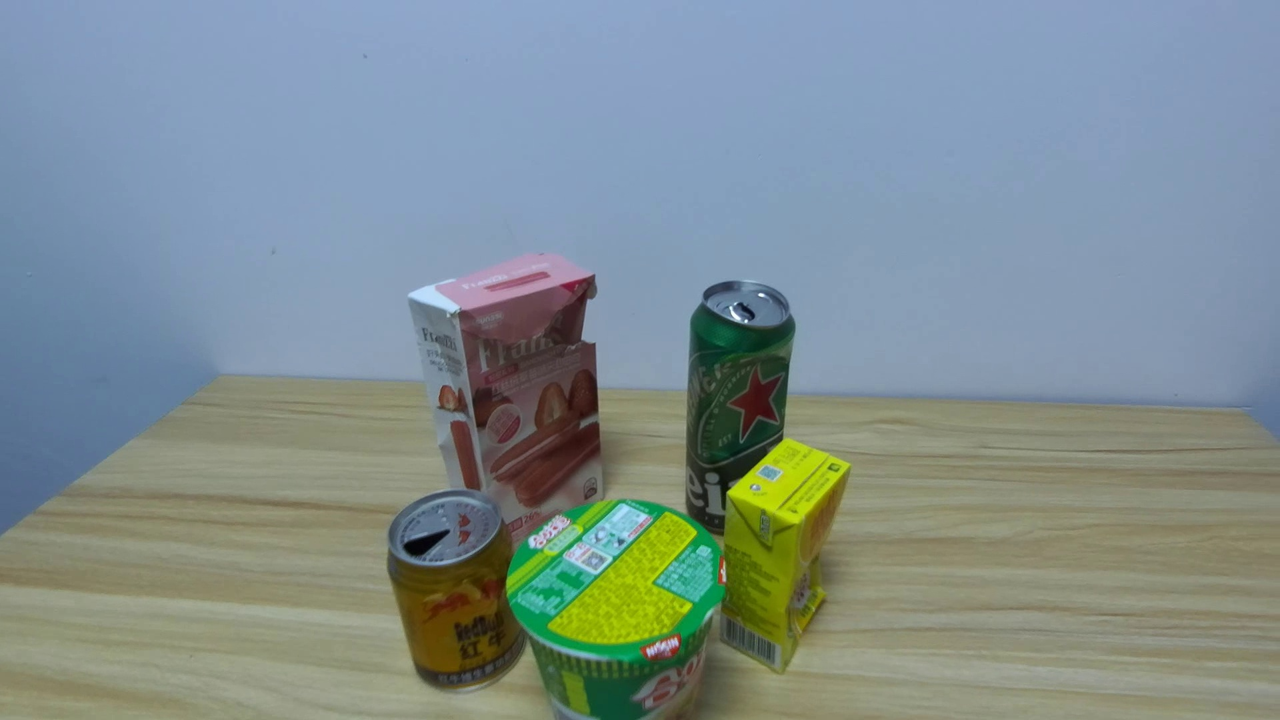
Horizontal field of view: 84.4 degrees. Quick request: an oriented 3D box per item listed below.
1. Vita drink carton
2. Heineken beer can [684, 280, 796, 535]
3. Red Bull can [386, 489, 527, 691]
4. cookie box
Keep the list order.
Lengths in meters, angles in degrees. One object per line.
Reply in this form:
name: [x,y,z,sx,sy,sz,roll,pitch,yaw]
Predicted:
Vita drink carton: [0.083,0.107,0.398,0.043,0.109,0.077,19,34,35]
Heineken beer can: [0.065,0.036,0.470,0.068,0.168,0.069,3,29,4]
Red Bull can: [-0.100,0.127,0.394,0.068,0.093,0.068,-3,26,2]
cookie box: [-0.080,0.032,0.473,0.105,0.186,0.059,-23,36,-35]
